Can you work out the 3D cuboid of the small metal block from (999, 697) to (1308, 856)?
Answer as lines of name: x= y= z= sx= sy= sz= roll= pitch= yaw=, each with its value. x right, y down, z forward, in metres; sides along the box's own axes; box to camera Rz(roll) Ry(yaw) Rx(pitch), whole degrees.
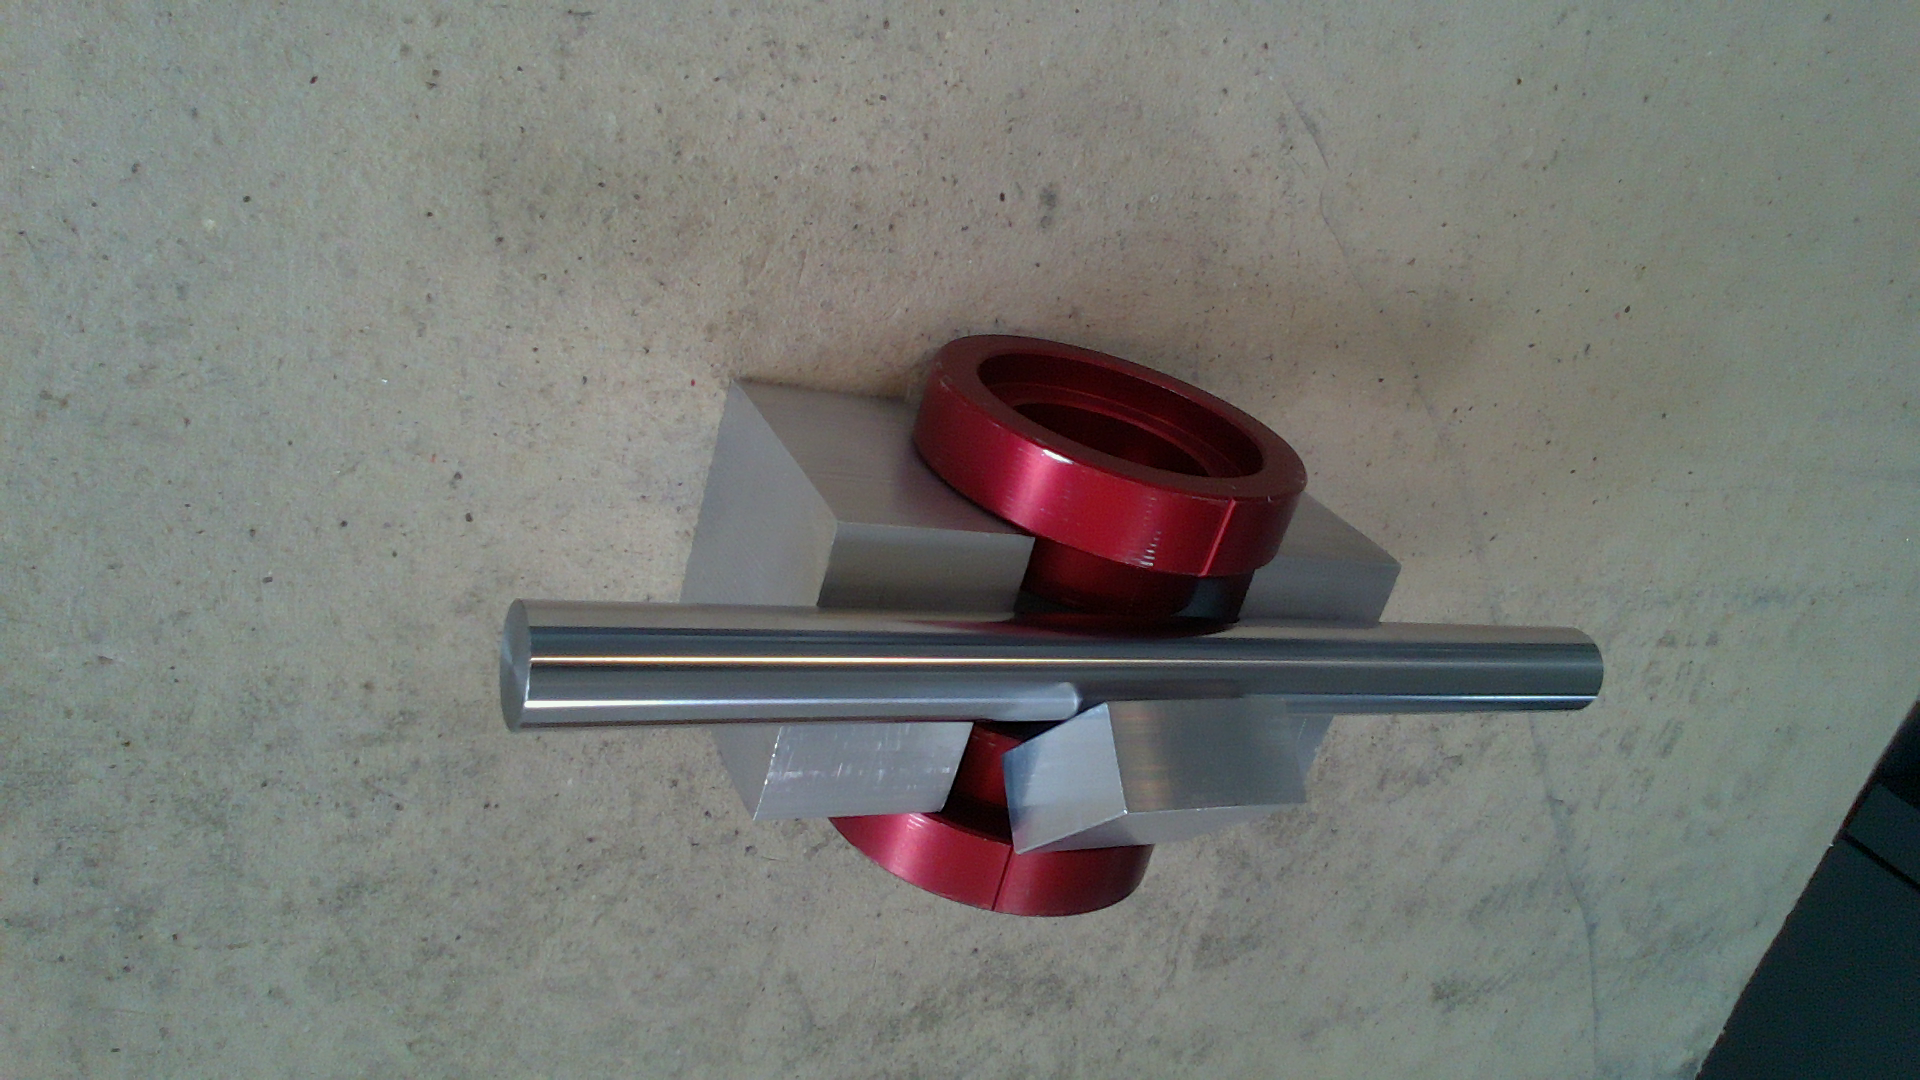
small metal block: x=0.045 y=0.057 z=0.328 sx=0.050 sy=0.025 sz=0.050 roll=2 pitch=158 yaw=-28

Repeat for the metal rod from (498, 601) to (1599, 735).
metal rod: x=0.047 y=0.031 z=0.331 sx=0.301 sy=0.025 sz=0.025 roll=3 pitch=117 yaw=-30

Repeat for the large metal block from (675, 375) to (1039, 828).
large metal block: x=-0.032 y=0.014 z=0.345 sx=0.050 sy=0.080 sz=0.080 roll=4 pitch=116 yaw=-30

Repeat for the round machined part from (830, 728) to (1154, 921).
round machined part: x=0.011 y=0.059 z=0.384 sx=0.098 sy=0.098 sz=0.042 roll=5 pitch=111 yaw=-30

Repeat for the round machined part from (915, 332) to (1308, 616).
round machined part: x=0.035 y=-0.015 z=0.352 sx=0.098 sy=0.098 sz=0.042 roll=4 pitch=117 yaw=-30

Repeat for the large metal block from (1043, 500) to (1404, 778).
large metal block: x=0.070 y=0.021 z=0.405 sx=0.050 sy=0.080 sz=0.080 roll=4 pitch=117 yaw=-30
